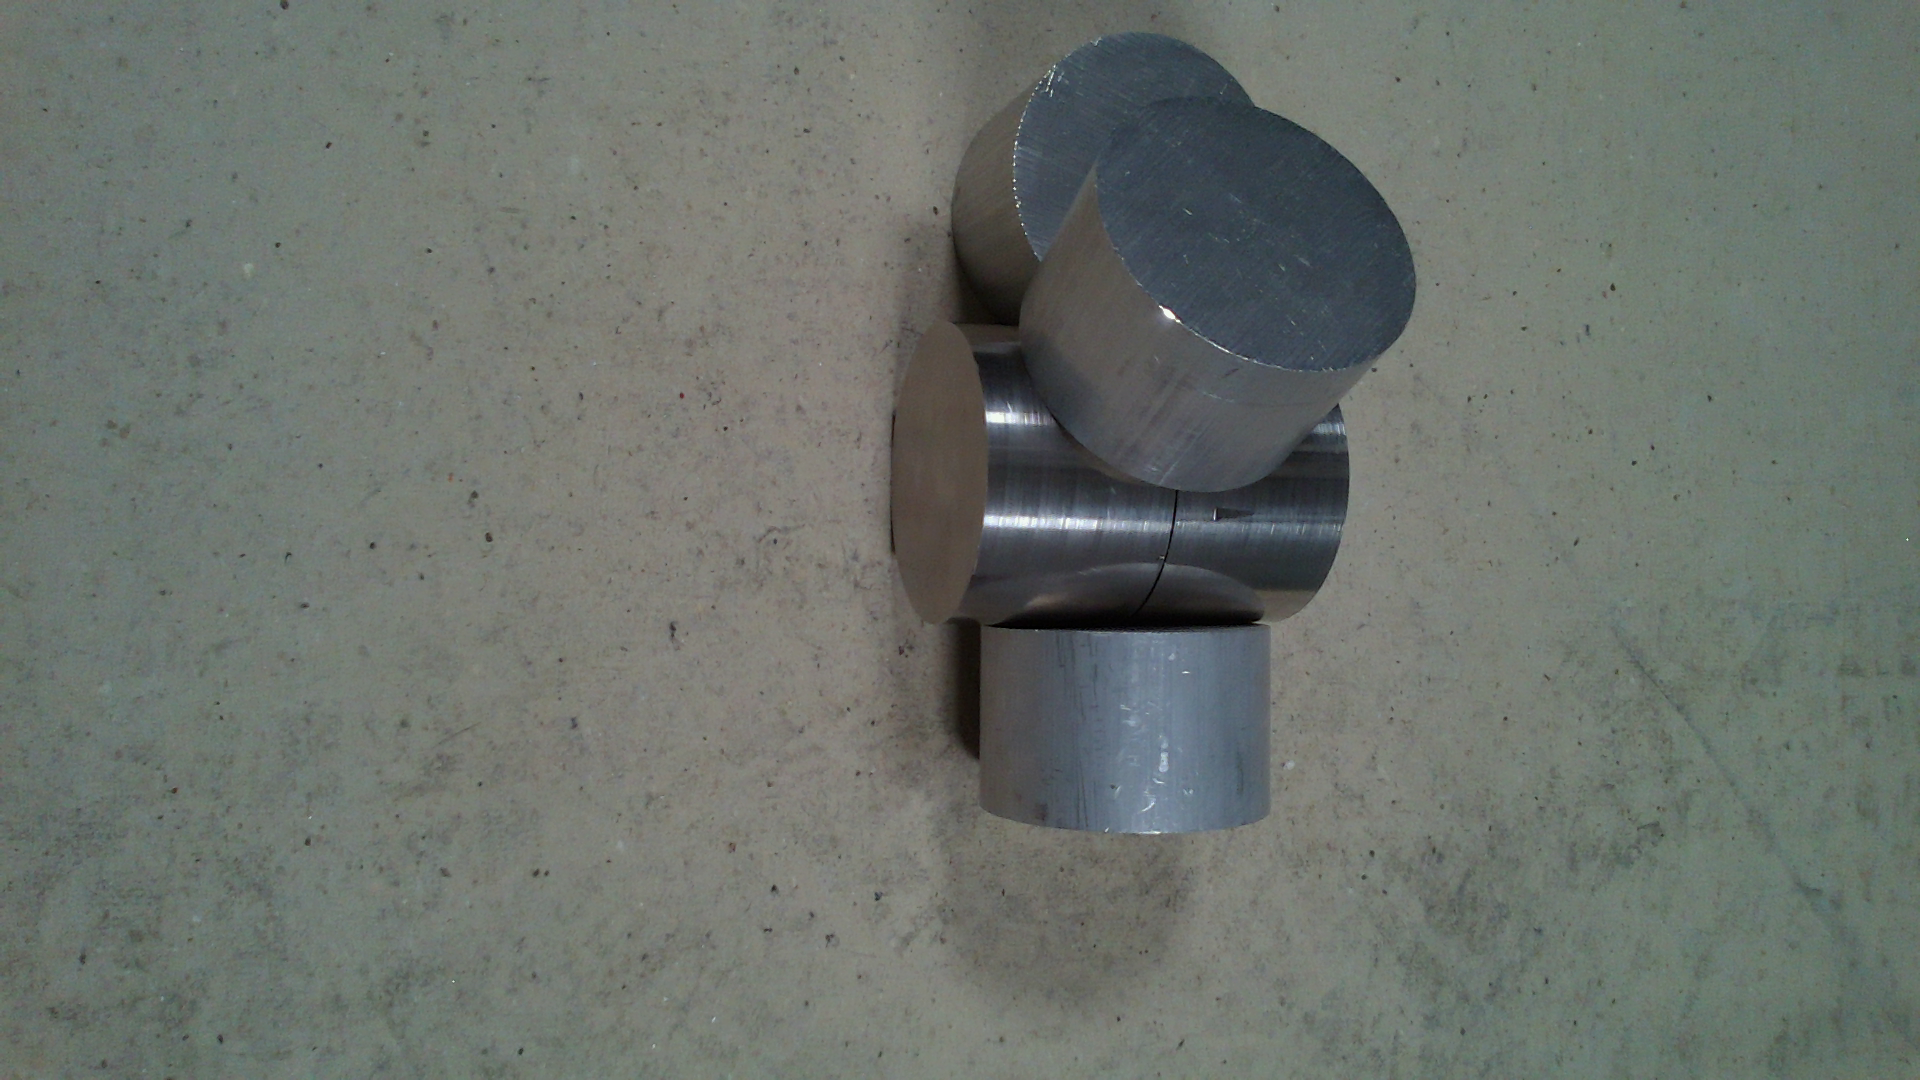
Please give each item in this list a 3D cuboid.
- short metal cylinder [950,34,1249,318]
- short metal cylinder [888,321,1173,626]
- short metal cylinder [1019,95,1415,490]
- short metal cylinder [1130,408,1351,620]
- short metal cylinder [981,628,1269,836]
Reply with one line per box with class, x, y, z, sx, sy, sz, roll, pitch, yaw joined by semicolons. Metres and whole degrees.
short metal cylinder;0.043;-0.097;0.397;0.080;0.050;0.080;0;90;-20
short metal cylinder;0.016;-0.017;0.371;0.050;0.080;0.080;1;90;-20
short metal cylinder;0.060;-0.059;0.332;0.080;0.050;0.080;9;59;-15
short metal cylinder;0.065;-0.017;0.388;0.050;0.080;0.080;0;90;-19
short metal cylinder;0.045;0.048;0.381;0.080;0.080;0.050;0;90;-20
